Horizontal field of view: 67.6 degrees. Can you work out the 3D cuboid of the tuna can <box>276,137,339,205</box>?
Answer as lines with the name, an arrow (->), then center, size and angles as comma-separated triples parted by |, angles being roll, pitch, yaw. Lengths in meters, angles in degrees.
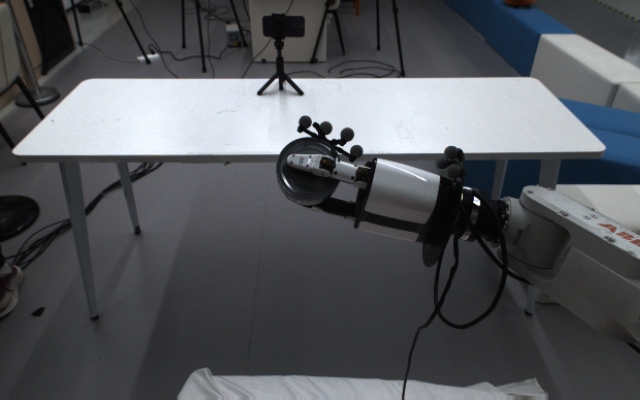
tuna can -> -0.014, -0.037, 0.637 | 0.085, 0.034, 0.085 | 1, 75, -4
